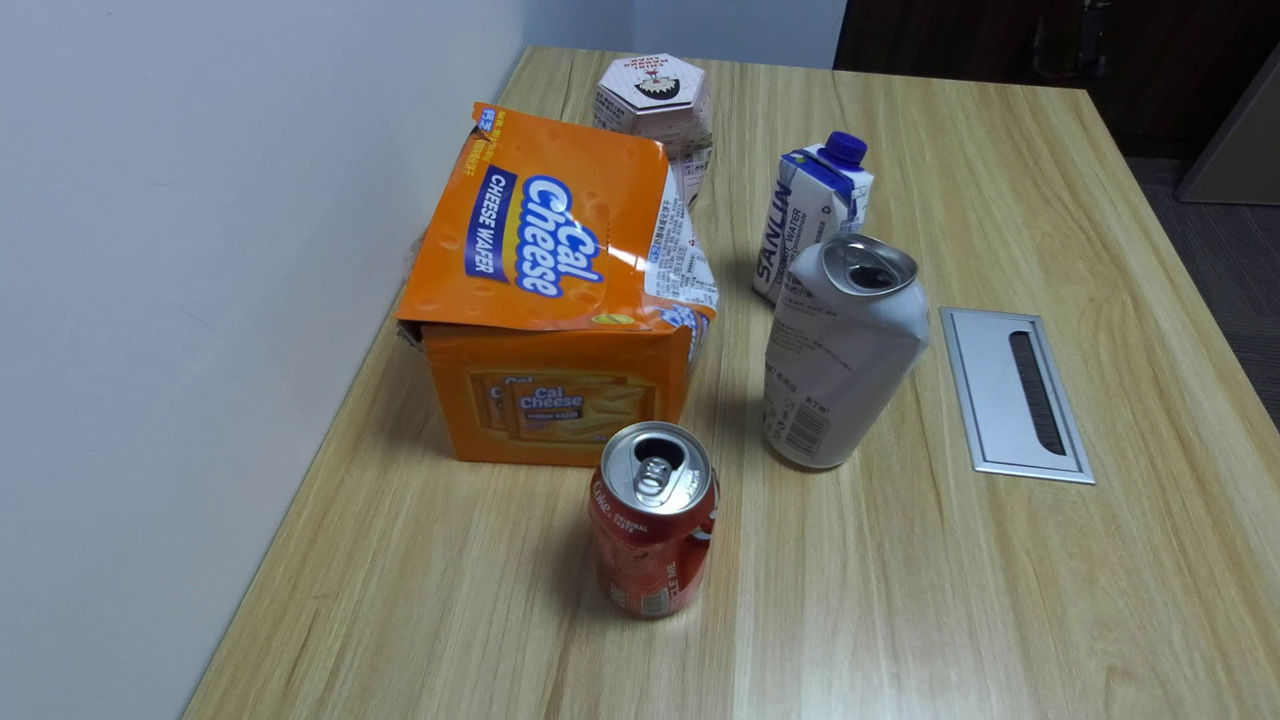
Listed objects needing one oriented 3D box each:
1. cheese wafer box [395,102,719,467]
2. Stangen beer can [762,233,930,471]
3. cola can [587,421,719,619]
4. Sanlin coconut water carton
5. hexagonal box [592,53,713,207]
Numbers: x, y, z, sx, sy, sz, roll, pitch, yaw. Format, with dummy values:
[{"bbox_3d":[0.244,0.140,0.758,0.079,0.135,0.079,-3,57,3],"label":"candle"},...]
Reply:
[{"bbox_3d":[-0.038,-0.056,0.494,0.191,0.145,0.218,2,49,2],"label":"cheese wafer box"},{"bbox_3d":[0.120,0.001,0.435,0.077,0.162,0.065,0,49,-3],"label":"Stangen beer can"},{"bbox_3d":[0.008,0.088,0.384,0.066,0.117,0.066,-28,55,-21],"label":"cola can"},{"bbox_3d":[0.131,-0.101,0.539,0.058,0.142,0.077,-26,54,-30],"label":"Sanlin coconut water carton"},{"bbox_3d":[0.012,-0.181,0.611,0.091,0.134,0.090,23,56,16],"label":"hexagonal box"}]
